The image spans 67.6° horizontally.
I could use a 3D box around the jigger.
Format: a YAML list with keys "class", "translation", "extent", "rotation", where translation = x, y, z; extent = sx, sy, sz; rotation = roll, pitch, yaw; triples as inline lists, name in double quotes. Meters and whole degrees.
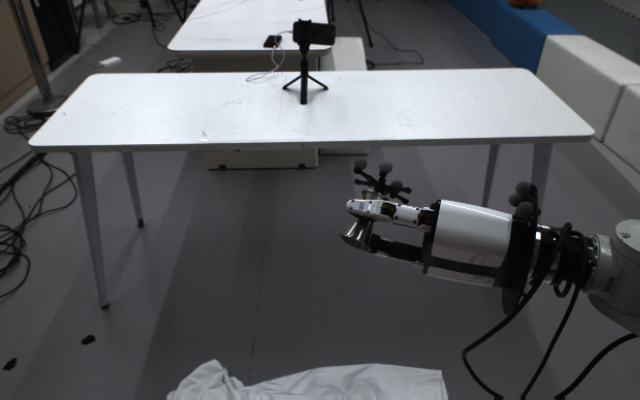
- class: "jigger"
  translation: [0.057, 0.023, 0.616]
  extent: [0.043, 0.043, 0.071]
  rotation: [20, 73, 24]
